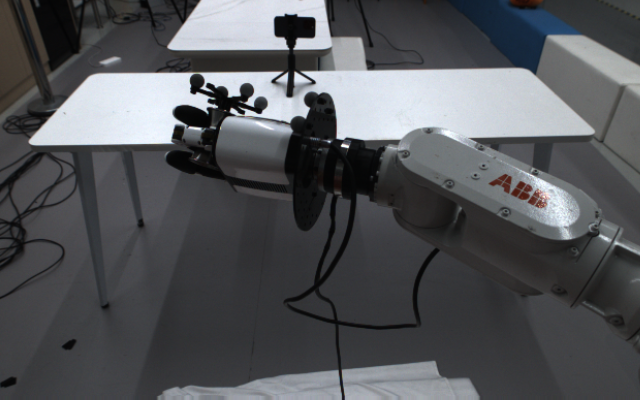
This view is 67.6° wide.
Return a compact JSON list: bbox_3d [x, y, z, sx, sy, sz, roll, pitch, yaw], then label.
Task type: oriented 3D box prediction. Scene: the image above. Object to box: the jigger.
[{"bbox_3d":[-0.125,-0.073,0.590,0.043,0.071,0.043,15,-7,2],"label":"jigger"}]
